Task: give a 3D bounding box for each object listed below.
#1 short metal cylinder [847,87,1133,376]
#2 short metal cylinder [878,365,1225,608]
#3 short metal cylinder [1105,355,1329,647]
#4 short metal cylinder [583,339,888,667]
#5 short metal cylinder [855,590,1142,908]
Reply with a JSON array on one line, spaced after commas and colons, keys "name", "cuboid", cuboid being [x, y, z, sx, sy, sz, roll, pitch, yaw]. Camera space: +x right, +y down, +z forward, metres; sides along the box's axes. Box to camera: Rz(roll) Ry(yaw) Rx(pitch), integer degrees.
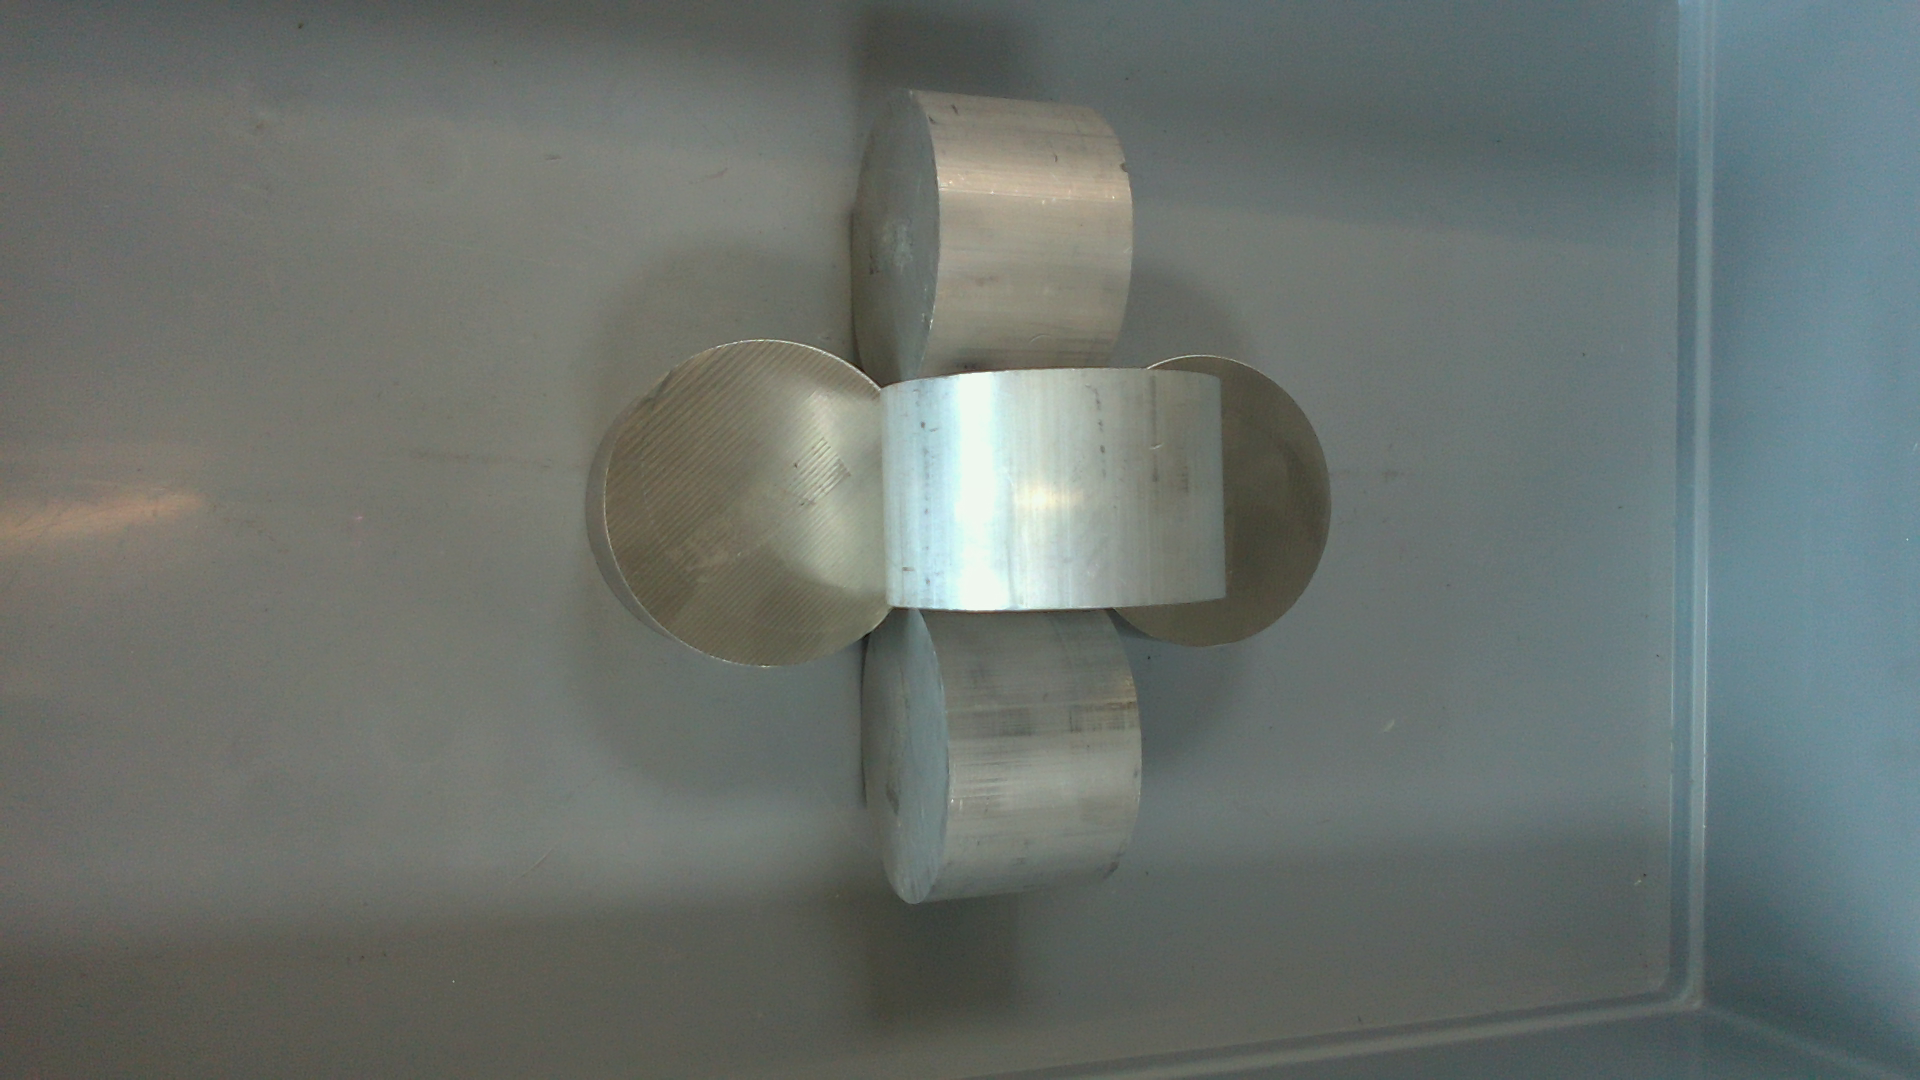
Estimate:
[{"name": "short metal cylinder", "cuboid": [0.005, -0.076, 0.364, 0.050, 0.080, 0.080, -2, 91, -20]}, {"name": "short metal cylinder", "cuboid": [0.021, -0.011, 0.324, 0.080, 0.080, 0.050, -1, 90, -20]}, {"name": "short metal cylinder", "cuboid": [0.059, -0.011, 0.400, 0.080, 0.050, 0.080, 0, 90, -20]}, {"name": "short metal cylinder", "cuboid": [-0.055, -0.009, 0.359, 0.080, 0.050, 0.080, 0, 90, -20]}, {"name": "short metal cylinder", "cuboid": [0.007, 0.054, 0.365, 0.050, 0.080, 0.080, -2, 91, -20]}]
